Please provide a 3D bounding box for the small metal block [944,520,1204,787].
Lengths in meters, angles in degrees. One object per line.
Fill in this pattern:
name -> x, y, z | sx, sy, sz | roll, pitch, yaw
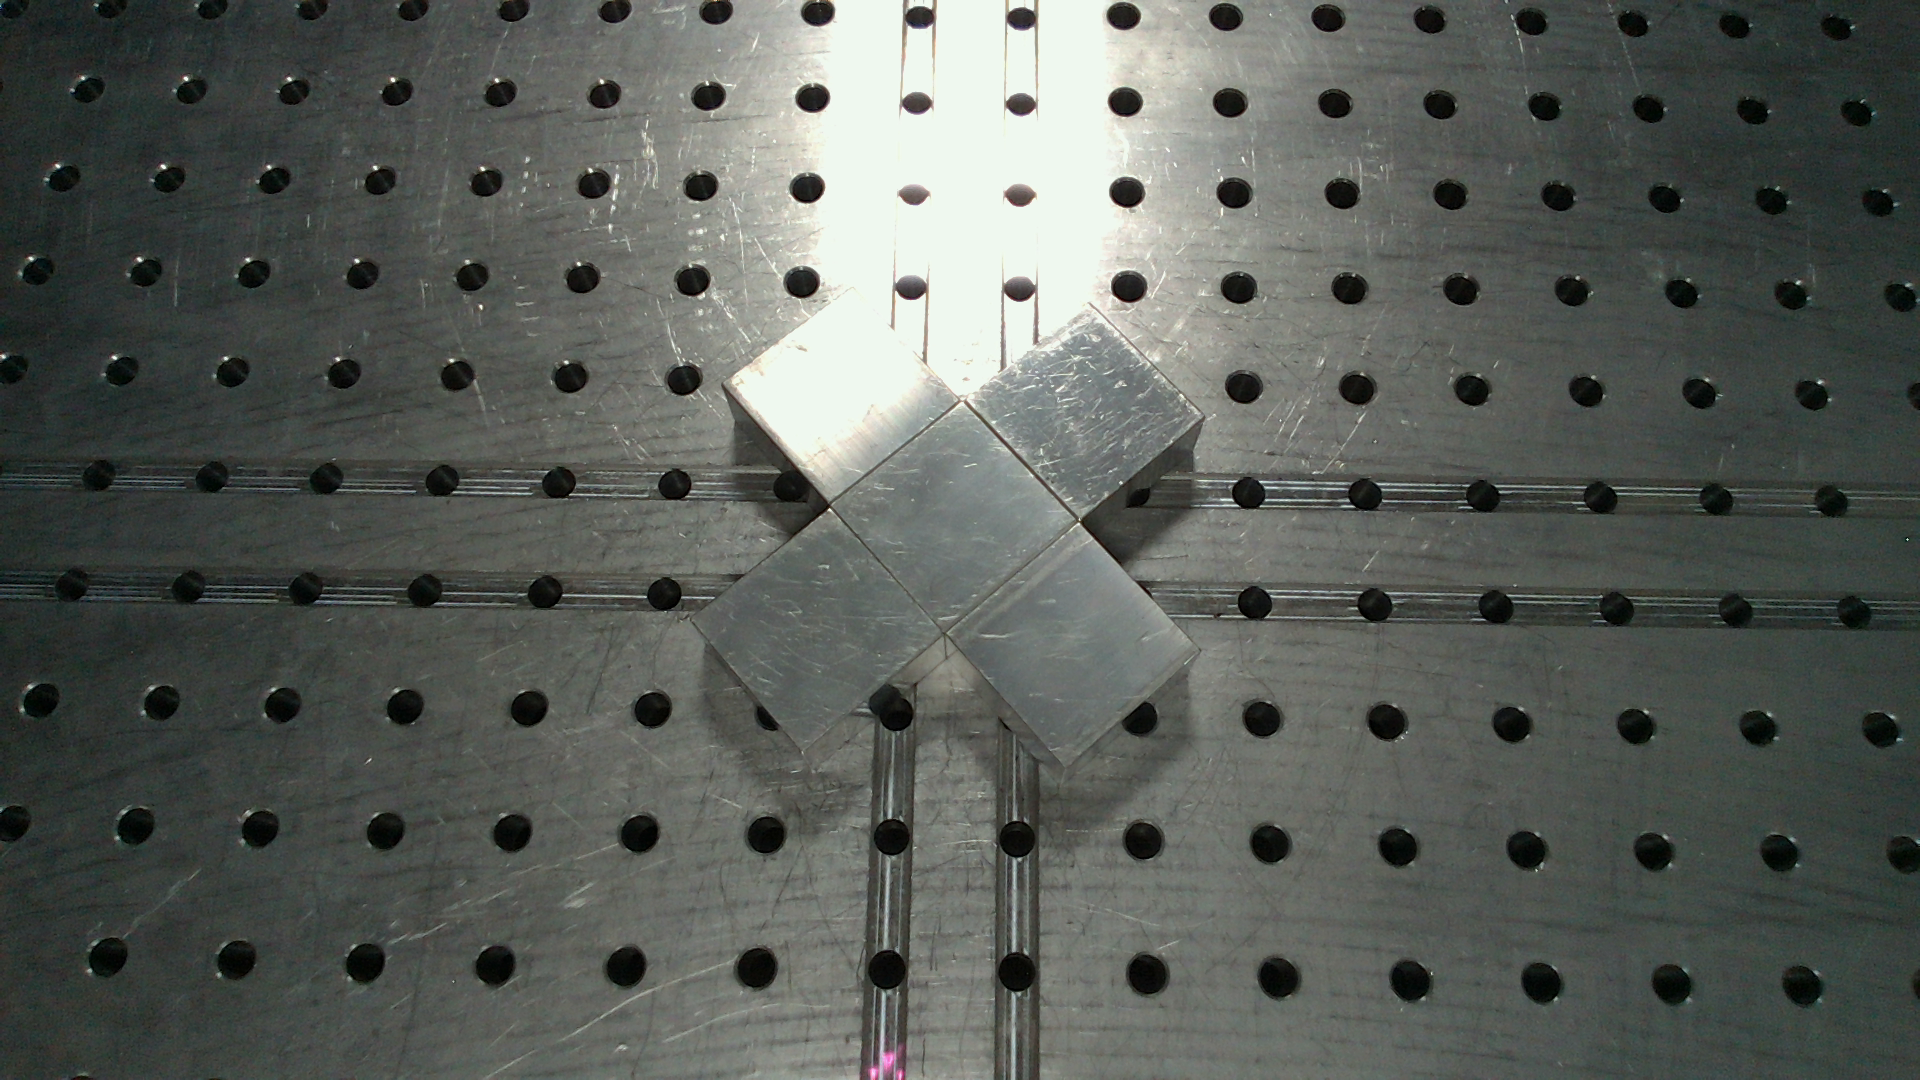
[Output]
small metal block -> 0.031, 0.032, 0.385 | 0.050, 0.025, 0.050 | -39, 75, -13

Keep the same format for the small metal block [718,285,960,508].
small metal block -> -0.035, -0.039, 0.411 | 0.050, 0.025, 0.050 | -39, 75, -13

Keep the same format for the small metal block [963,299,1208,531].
small metal block -> 0.036, -0.034, 0.409 | 0.050, 0.025, 0.050 | -39, 75, -13

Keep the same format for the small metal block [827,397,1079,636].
small metal block -> -0.002, -0.004, 0.397 | 0.050, 0.025, 0.050 | -39, 75, -13

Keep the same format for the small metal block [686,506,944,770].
small metal block -> -0.040, 0.028, 0.387 | 0.050, 0.025, 0.050 | -39, 75, -13
